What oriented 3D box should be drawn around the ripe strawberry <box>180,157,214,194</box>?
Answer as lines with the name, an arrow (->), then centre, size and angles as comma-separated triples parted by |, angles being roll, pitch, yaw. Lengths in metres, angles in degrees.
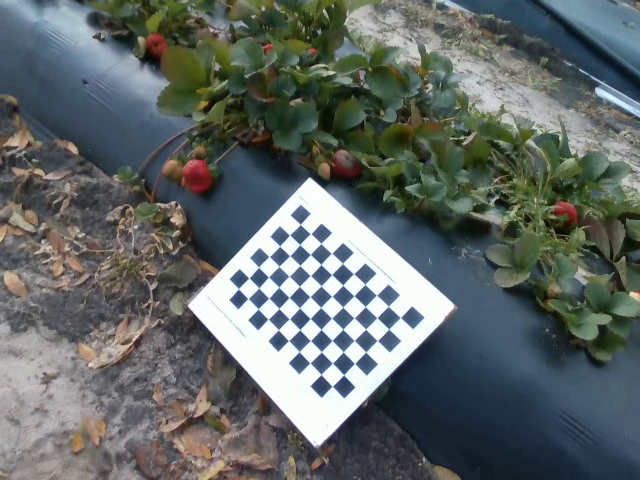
ripe strawberry -> -0.222, -0.122, 1.116 | 0.066, 0.075, 0.053 | 23, -8, 19
